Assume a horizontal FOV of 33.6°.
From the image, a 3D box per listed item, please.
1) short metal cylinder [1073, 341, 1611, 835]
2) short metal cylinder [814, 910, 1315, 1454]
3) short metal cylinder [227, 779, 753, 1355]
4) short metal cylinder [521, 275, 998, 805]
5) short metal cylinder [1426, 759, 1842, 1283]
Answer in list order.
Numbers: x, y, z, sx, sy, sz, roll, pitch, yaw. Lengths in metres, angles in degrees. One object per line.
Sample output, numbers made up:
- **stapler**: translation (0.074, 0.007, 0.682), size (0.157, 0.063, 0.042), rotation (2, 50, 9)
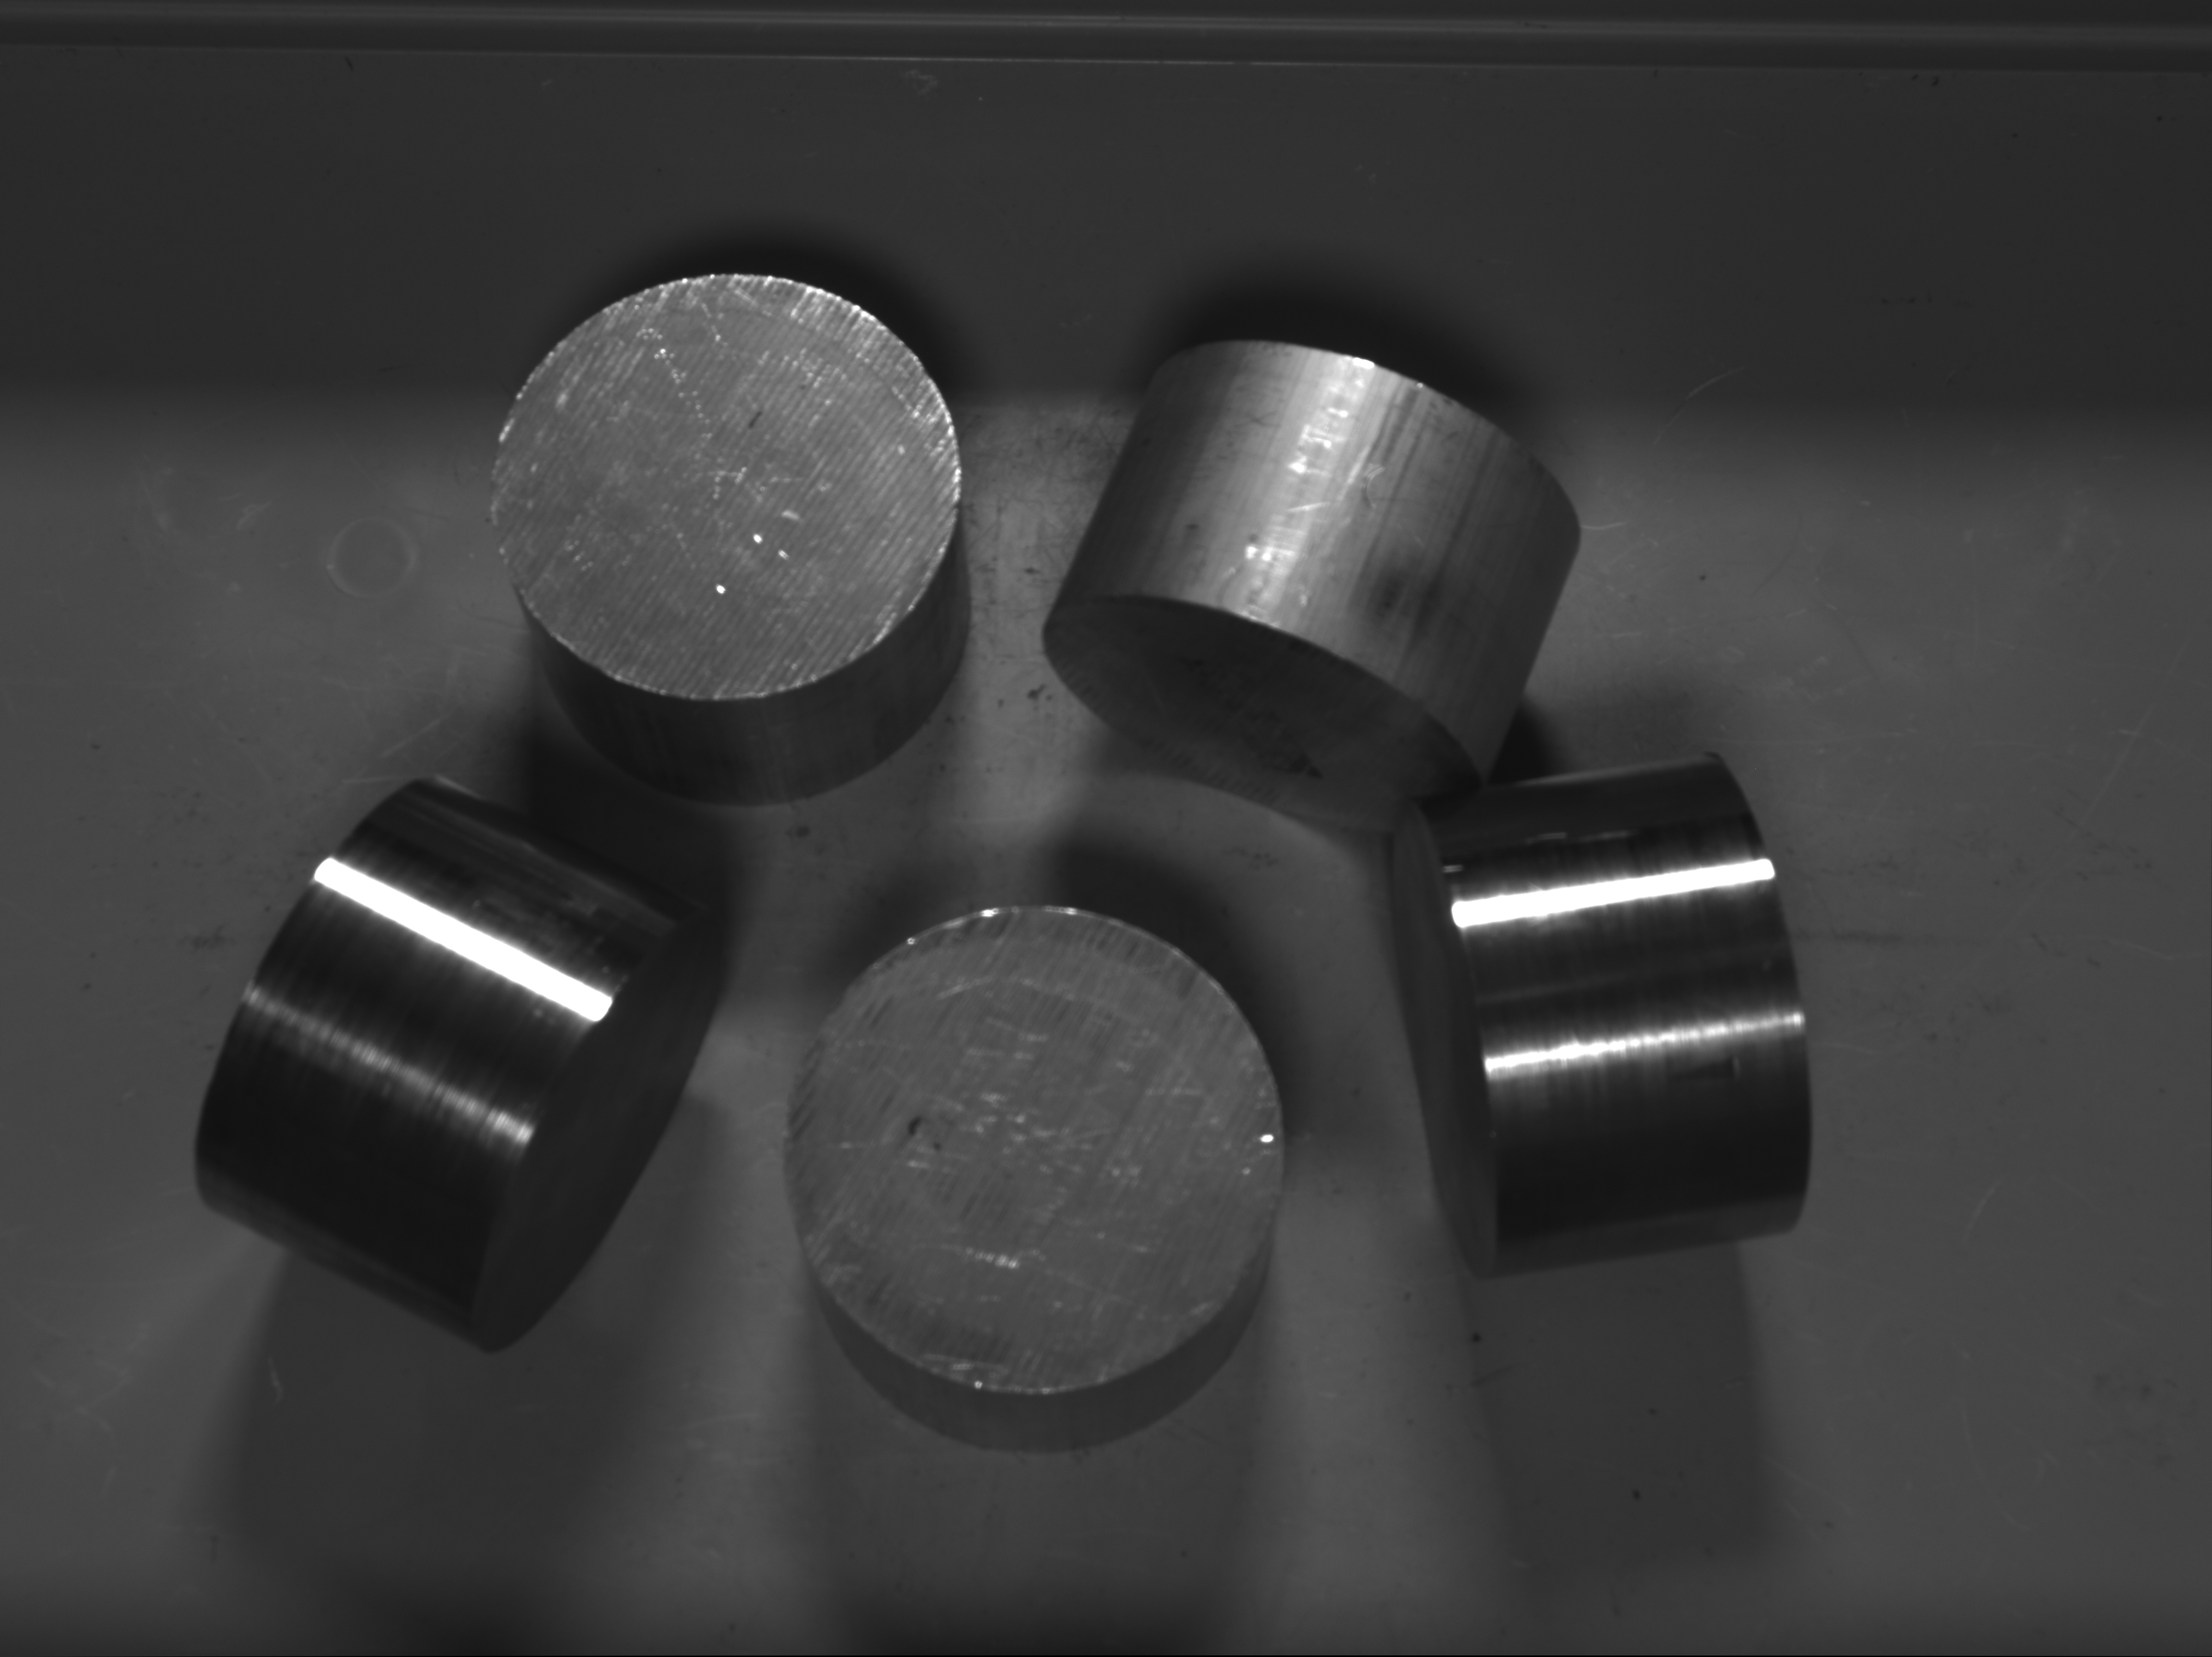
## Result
- **short metal cylinder**: translation (0.041, -0.040, 0.631), size (0.080, 0.080, 0.050), rotation (20, 71, 7)
- **short metal cylinder**: translation (-0.007, 0.059, 0.608), size (0.080, 0.050, 0.080), rotation (0, 70, 0)
- **short metal cylinder**: translation (-0.099, 0.039, 0.599), size (0.050, 0.080, 0.080), rotation (26, 72, 9)
- **short metal cylinder**: translation (-0.060, -0.050, 0.649), size (0.080, 0.050, 0.080), rotation (0, 70, 0)
- **short metal cylinder**: translation (0.085, 0.031, 0.603), size (0.050, 0.080, 0.080), rotation (-8, 70, -3)
